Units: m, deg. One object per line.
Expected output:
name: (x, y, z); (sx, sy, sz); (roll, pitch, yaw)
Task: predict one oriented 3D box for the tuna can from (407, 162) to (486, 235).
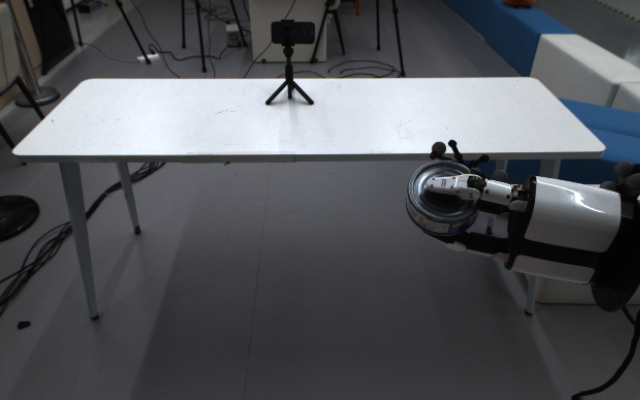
tuna can: (0.148, 0.002, 0.559); (0.085, 0.034, 0.085); (-4, 58, 6)
